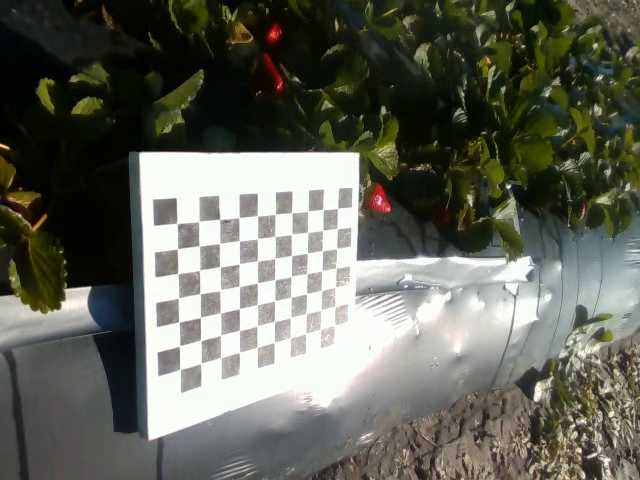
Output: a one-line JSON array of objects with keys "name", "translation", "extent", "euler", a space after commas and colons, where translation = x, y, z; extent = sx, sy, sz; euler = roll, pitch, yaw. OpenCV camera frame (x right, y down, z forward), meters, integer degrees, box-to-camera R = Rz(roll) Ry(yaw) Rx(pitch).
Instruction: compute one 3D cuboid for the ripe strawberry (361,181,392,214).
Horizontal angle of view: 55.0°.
[{"name": "ripe strawberry", "translation": [0.083, -0.055, 0.853], "extent": [0.029, 0.048, 0.055], "euler": [11, -31, 47]}]
